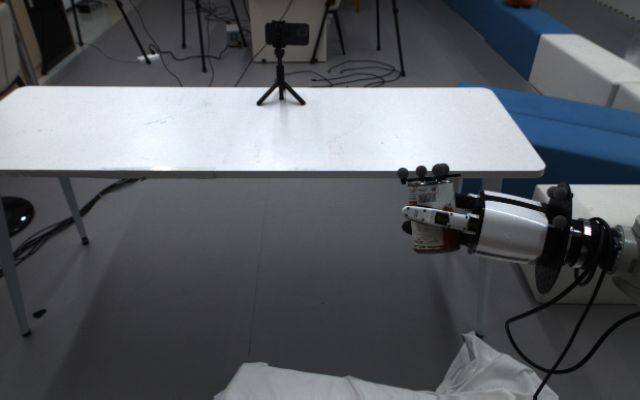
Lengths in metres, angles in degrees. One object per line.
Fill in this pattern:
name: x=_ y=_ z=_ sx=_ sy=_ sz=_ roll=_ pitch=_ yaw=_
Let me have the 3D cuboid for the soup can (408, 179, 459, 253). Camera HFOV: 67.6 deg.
soup can: x=0.168 y=0.023 z=0.709 sx=0.067 sy=0.101 sz=0.067 roll=-6 pitch=3 yaw=0
